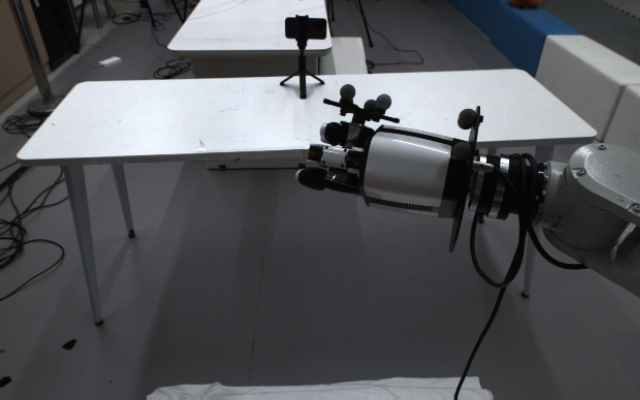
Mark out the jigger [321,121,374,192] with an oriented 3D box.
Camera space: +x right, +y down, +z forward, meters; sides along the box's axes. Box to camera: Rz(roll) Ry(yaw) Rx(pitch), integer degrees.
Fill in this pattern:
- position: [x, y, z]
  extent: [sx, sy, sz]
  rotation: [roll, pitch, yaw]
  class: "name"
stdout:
- position: [0.034, -0.052, 0.553]
  extent: [0.043, 0.071, 0.043]
  rotation: [17, 2, -1]
  class: "jigger"
